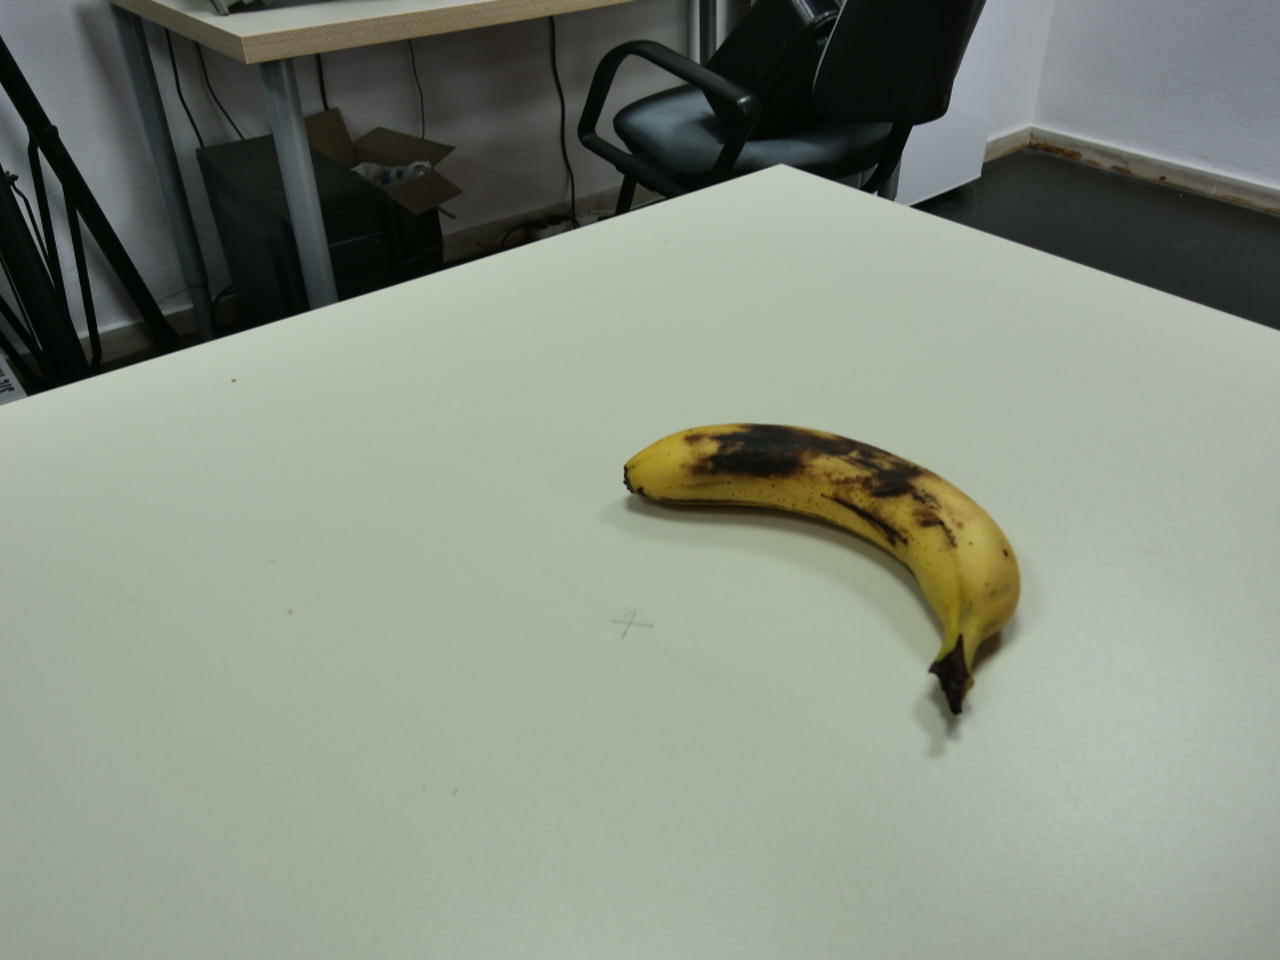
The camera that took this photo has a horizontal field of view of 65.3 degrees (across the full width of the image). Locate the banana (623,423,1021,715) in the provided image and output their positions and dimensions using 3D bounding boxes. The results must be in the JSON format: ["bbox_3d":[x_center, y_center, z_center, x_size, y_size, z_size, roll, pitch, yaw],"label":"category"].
[{"bbox_3d":[0.084,0.017,0.426,0.094,0.039,0.187,-25,41,-31],"label":"banana"}]
